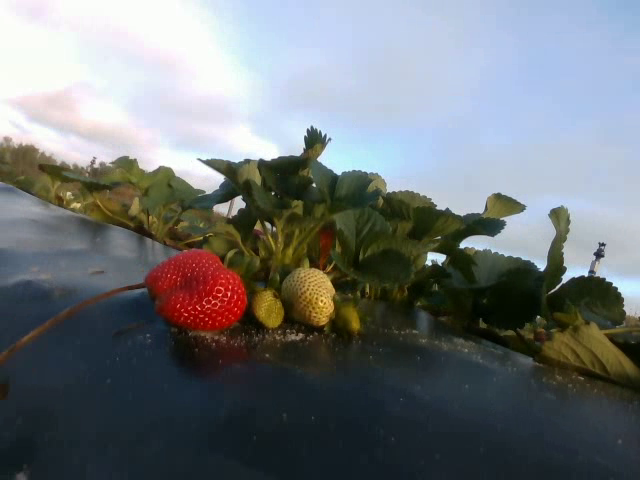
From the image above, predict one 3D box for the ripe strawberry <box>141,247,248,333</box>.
[{"bbox_3d":[-0.065,0.019,0.313,0.047,0.035,0.050,13,21,42],"label":"ripe strawberry"}]
